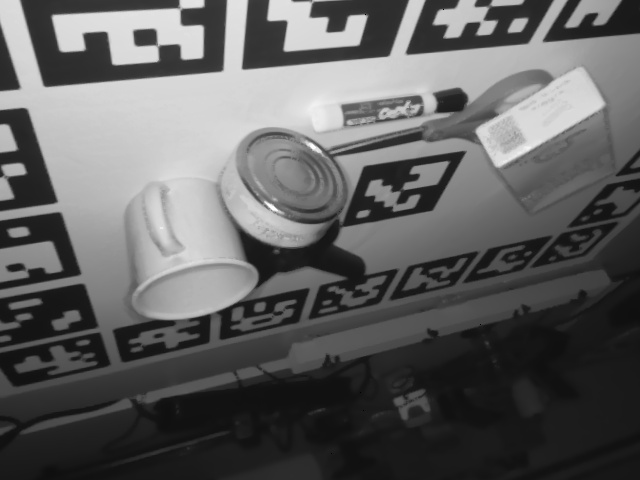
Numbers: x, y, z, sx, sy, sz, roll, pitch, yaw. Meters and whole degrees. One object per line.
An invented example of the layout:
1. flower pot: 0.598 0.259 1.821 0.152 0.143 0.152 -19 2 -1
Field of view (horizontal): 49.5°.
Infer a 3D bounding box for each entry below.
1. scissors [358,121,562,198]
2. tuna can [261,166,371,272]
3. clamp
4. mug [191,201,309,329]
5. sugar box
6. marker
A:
1. scissors: 0.129 -0.062 0.630 0.204 0.016 0.087 -13 153 -7
2. tuna can: -0.002 -0.019 0.565 0.087 0.086 0.033 2 144 -31
3. clamp: -0.002 0.029 0.708 0.166 0.037 0.201 -14 148 -7
4. mug: -0.068 0.016 0.593 0.093 0.081 0.117 -23 152 7
5. sugar box: 0.233 -0.052 0.672 0.092 0.045 0.178 -28 154 16
6. marker: 0.091 -0.080 0.585 0.122 0.020 0.019 -11 147 -14
